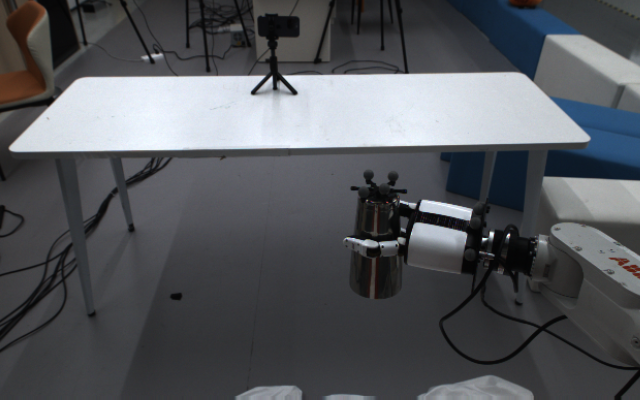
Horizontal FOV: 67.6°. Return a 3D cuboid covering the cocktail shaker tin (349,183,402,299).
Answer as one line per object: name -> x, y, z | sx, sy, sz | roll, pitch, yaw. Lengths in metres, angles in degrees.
cocktail shaker tin -> 0.096, 0.066, 0.804 | 0.093, 0.170, 0.093 | -1, 26, 1
